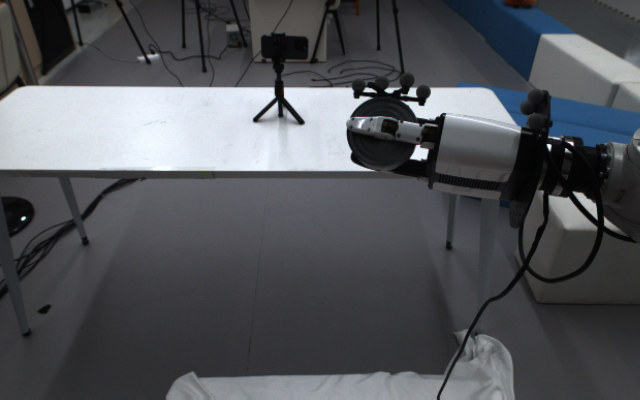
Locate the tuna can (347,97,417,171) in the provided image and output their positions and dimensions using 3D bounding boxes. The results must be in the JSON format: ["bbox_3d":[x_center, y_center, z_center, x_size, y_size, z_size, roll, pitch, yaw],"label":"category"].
[{"bbox_3d":[0.077,-0.083,0.590,0.085,0.085,0.034,11,-7,12],"label":"tuna can"}]
